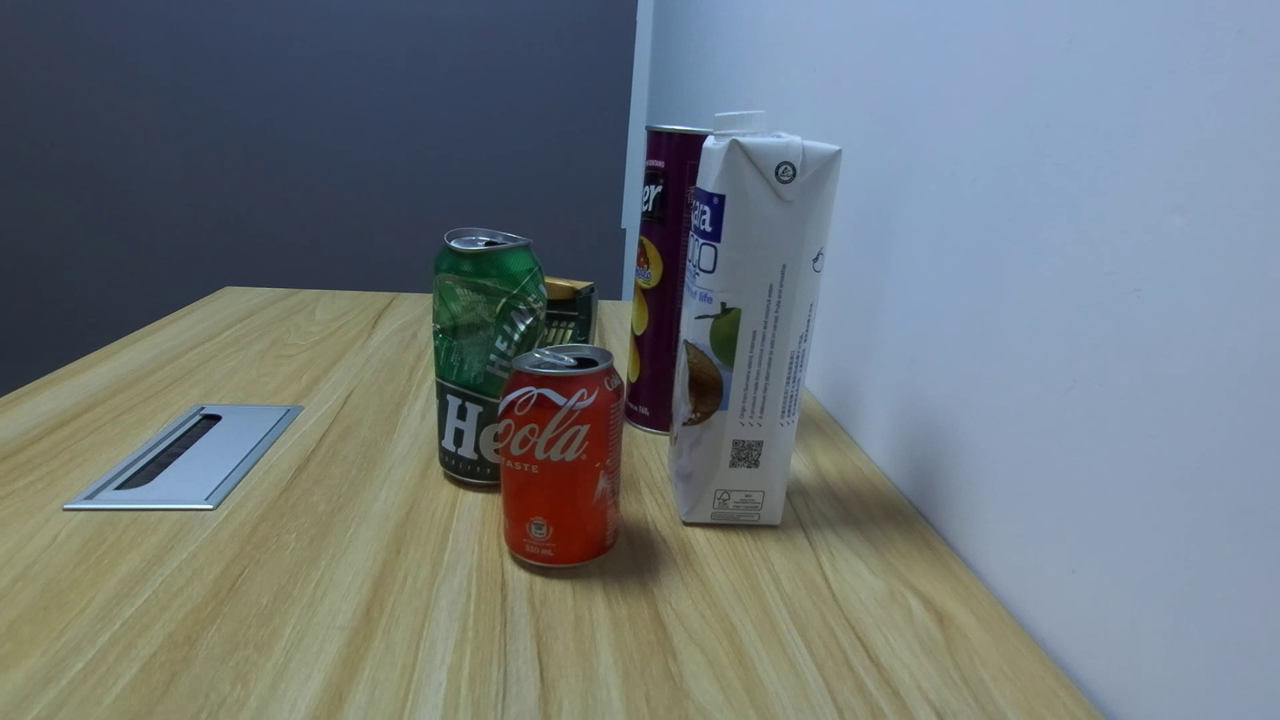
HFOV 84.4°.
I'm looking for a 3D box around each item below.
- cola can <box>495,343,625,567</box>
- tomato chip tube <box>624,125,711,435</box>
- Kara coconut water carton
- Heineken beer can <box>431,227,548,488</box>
[{"bbox_3d":[-0.042,0.053,0.393,0.065,0.117,0.072,18,23,34],"label":"cola can"},{"bbox_3d":[0.035,-0.069,0.581,0.076,0.234,0.080,5,23,10],"label":"tomato chip tube"},{"bbox_3d":[0.065,-0.022,0.434,0.075,0.245,0.077,3,18,-6],"label":"Kara coconut water carton"},{"bbox_3d":[-0.102,-0.001,0.473,0.066,0.164,0.077,-2,19,-17],"label":"Heineken beer can"}]
